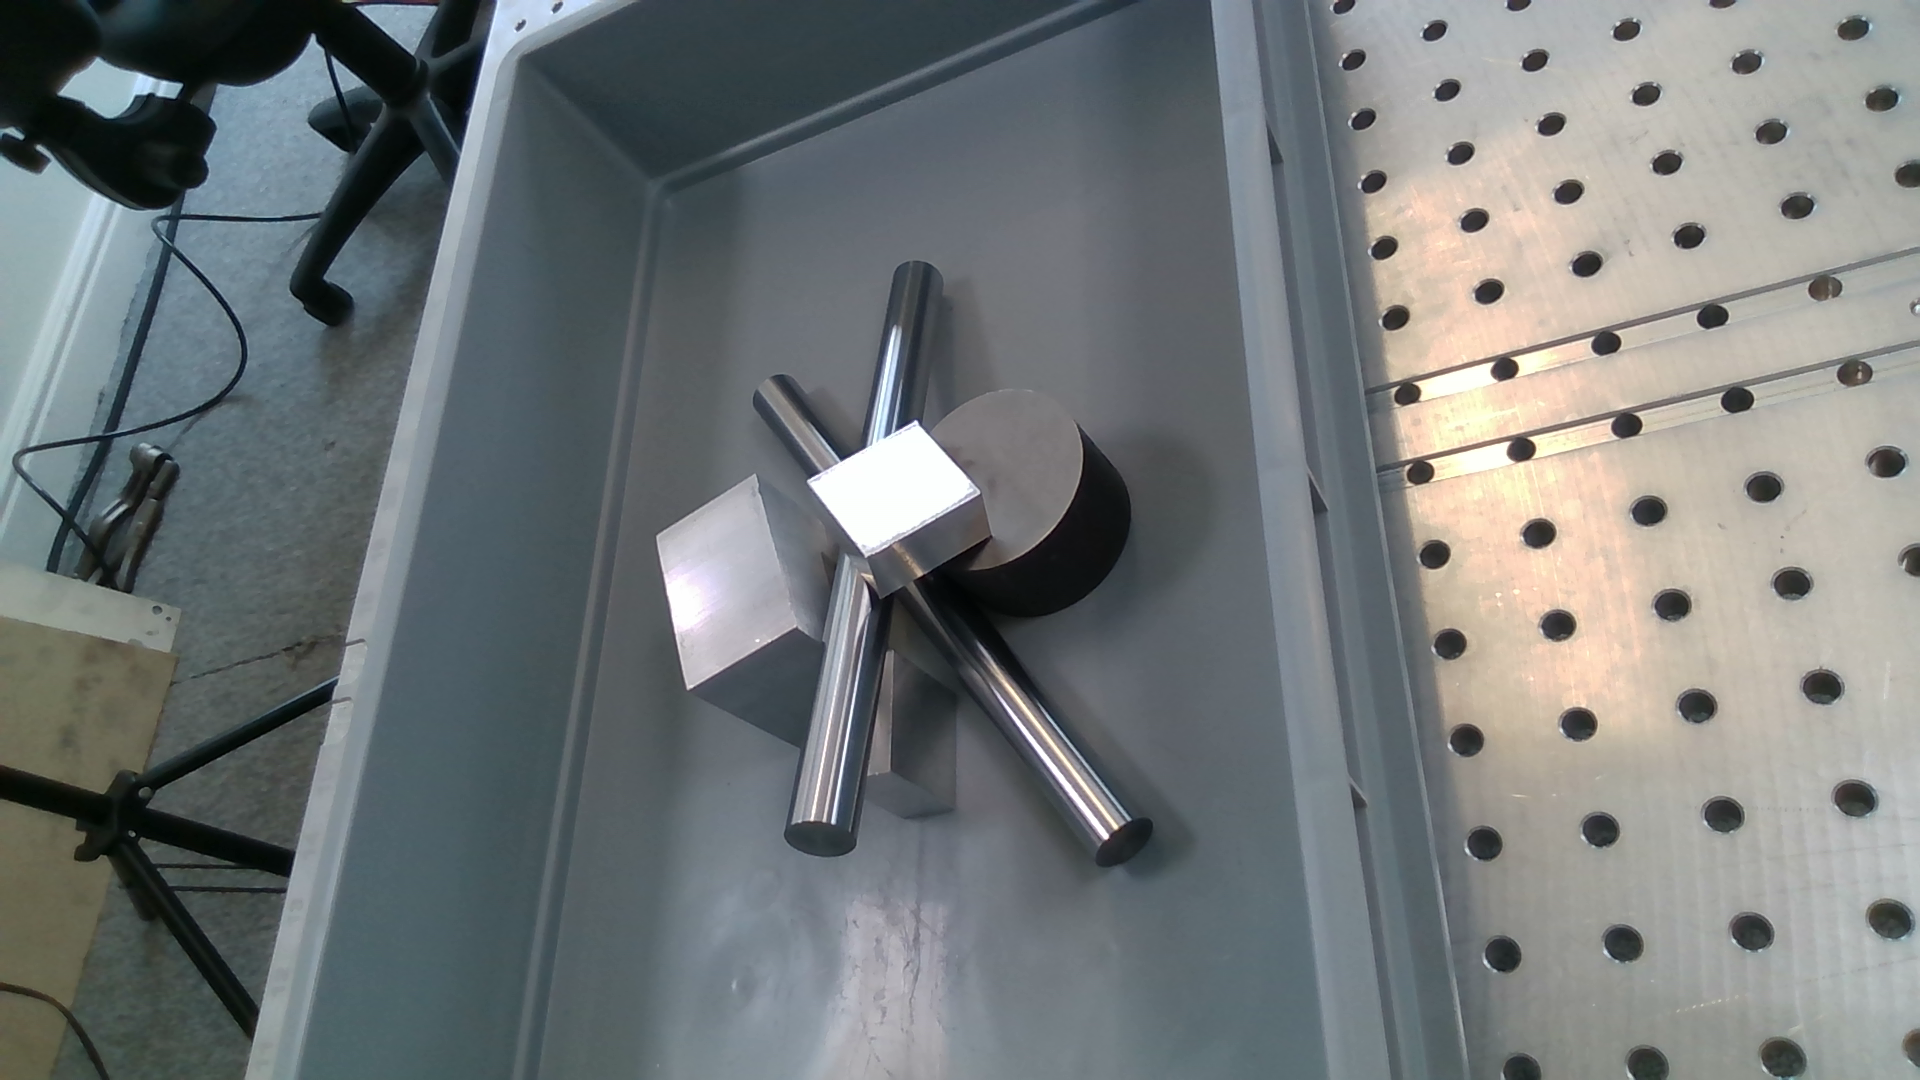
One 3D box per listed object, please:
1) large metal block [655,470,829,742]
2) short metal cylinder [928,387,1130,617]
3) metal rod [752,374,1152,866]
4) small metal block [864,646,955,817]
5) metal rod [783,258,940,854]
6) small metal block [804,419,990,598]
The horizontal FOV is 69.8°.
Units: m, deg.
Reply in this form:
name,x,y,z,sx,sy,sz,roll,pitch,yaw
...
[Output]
name,x,y,z,sx,sy,sz,roll,pitch,yaw
large metal block,-0.077,0.031,0.579,0.050,0.080,0.080,-30,53,15
short metal cylinder,0.023,-0.015,0.562,0.080,0.050,0.080,-14,59,24
metal rod,-0.016,0.018,0.586,0.025,0.025,0.299,-44,51,5
small metal block,-0.025,0.077,0.544,0.025,0.050,0.050,-14,58,25
metal rod,-0.034,-0.012,0.567,0.025,0.025,0.299,-15,45,24
small metal block,-0.024,-0.013,0.531,0.050,0.025,0.050,-30,50,-13
